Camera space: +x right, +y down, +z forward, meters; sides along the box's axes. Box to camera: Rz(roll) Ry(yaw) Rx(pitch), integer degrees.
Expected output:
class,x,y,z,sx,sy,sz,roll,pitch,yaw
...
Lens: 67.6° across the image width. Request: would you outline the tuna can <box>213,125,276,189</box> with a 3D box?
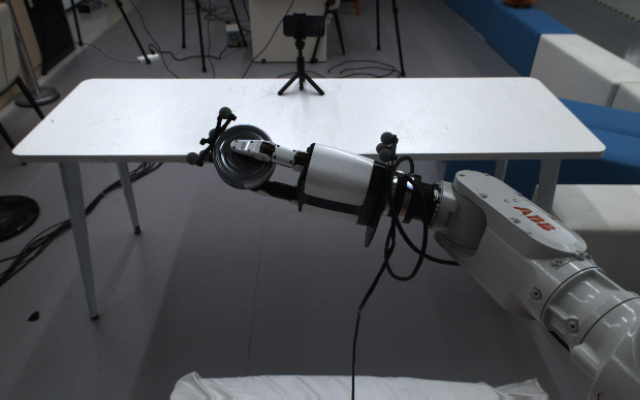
class,x,y,z,sx,sy,sz,roll,pitch,yaw
tuna can,-0.101,-0.055,0.666,0.085,0.034,0.085,1,77,-5
